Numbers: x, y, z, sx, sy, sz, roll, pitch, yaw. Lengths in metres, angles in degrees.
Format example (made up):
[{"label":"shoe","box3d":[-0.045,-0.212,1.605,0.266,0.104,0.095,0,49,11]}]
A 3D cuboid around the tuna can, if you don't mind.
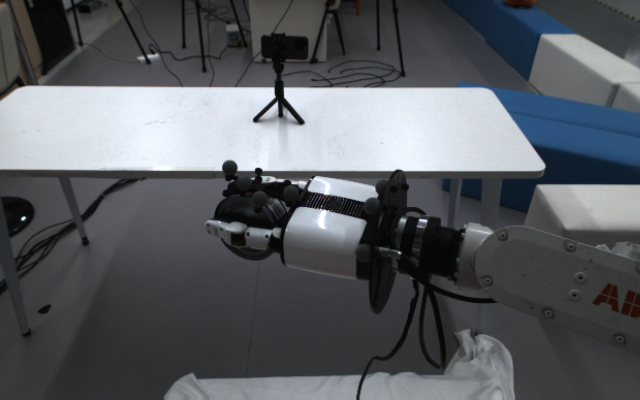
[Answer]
[{"label":"tuna can","box3d":[-0.078,0.027,0.575,0.085,0.085,0.034,16,29,19]}]
